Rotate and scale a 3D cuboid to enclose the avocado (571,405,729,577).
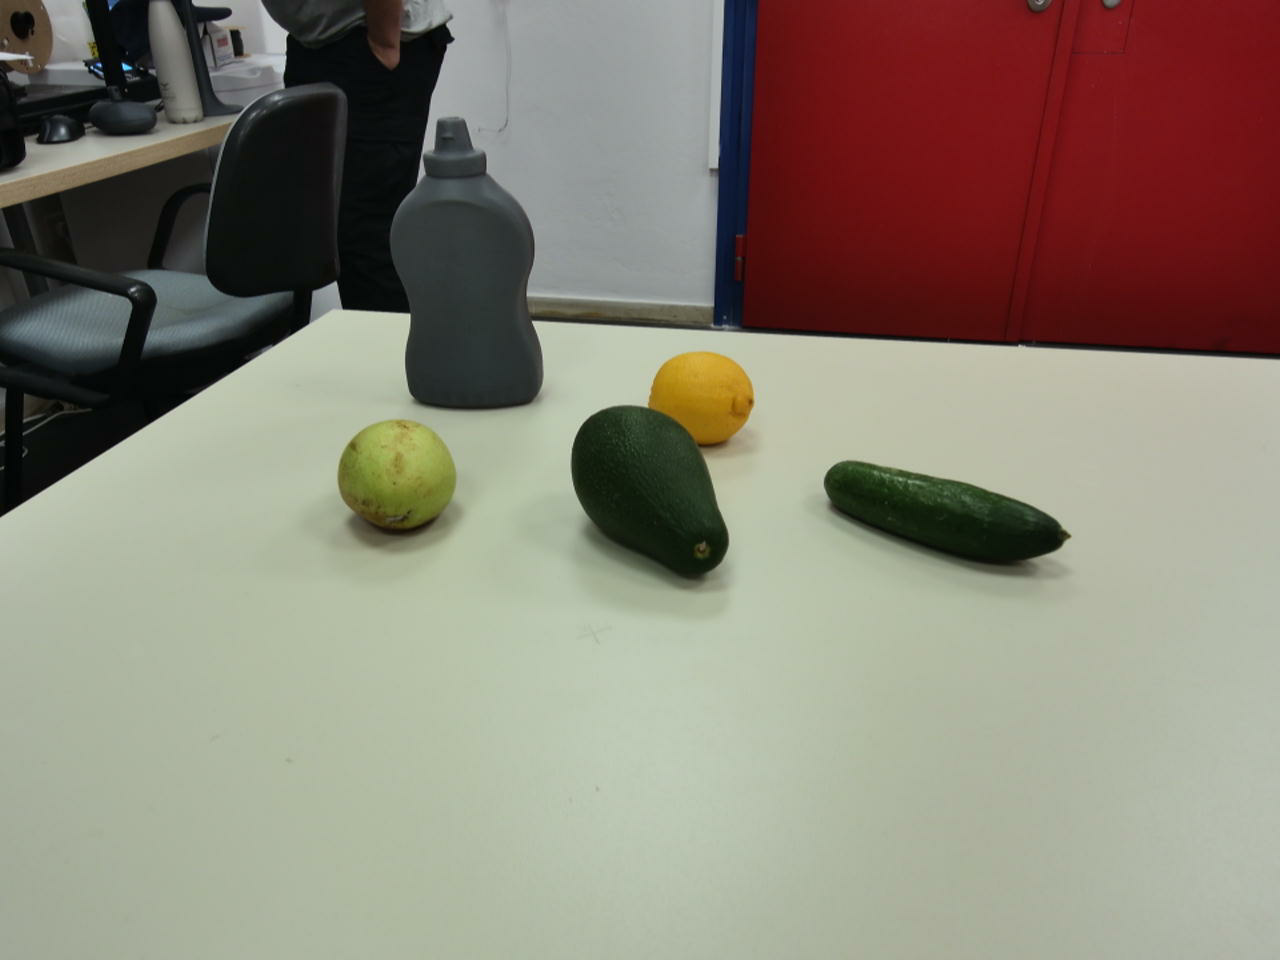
[{"bbox_3d":[0.003,0.003,0.521,0.072,0.071,0.109,-6,26,-9],"label":"avocado"}]
